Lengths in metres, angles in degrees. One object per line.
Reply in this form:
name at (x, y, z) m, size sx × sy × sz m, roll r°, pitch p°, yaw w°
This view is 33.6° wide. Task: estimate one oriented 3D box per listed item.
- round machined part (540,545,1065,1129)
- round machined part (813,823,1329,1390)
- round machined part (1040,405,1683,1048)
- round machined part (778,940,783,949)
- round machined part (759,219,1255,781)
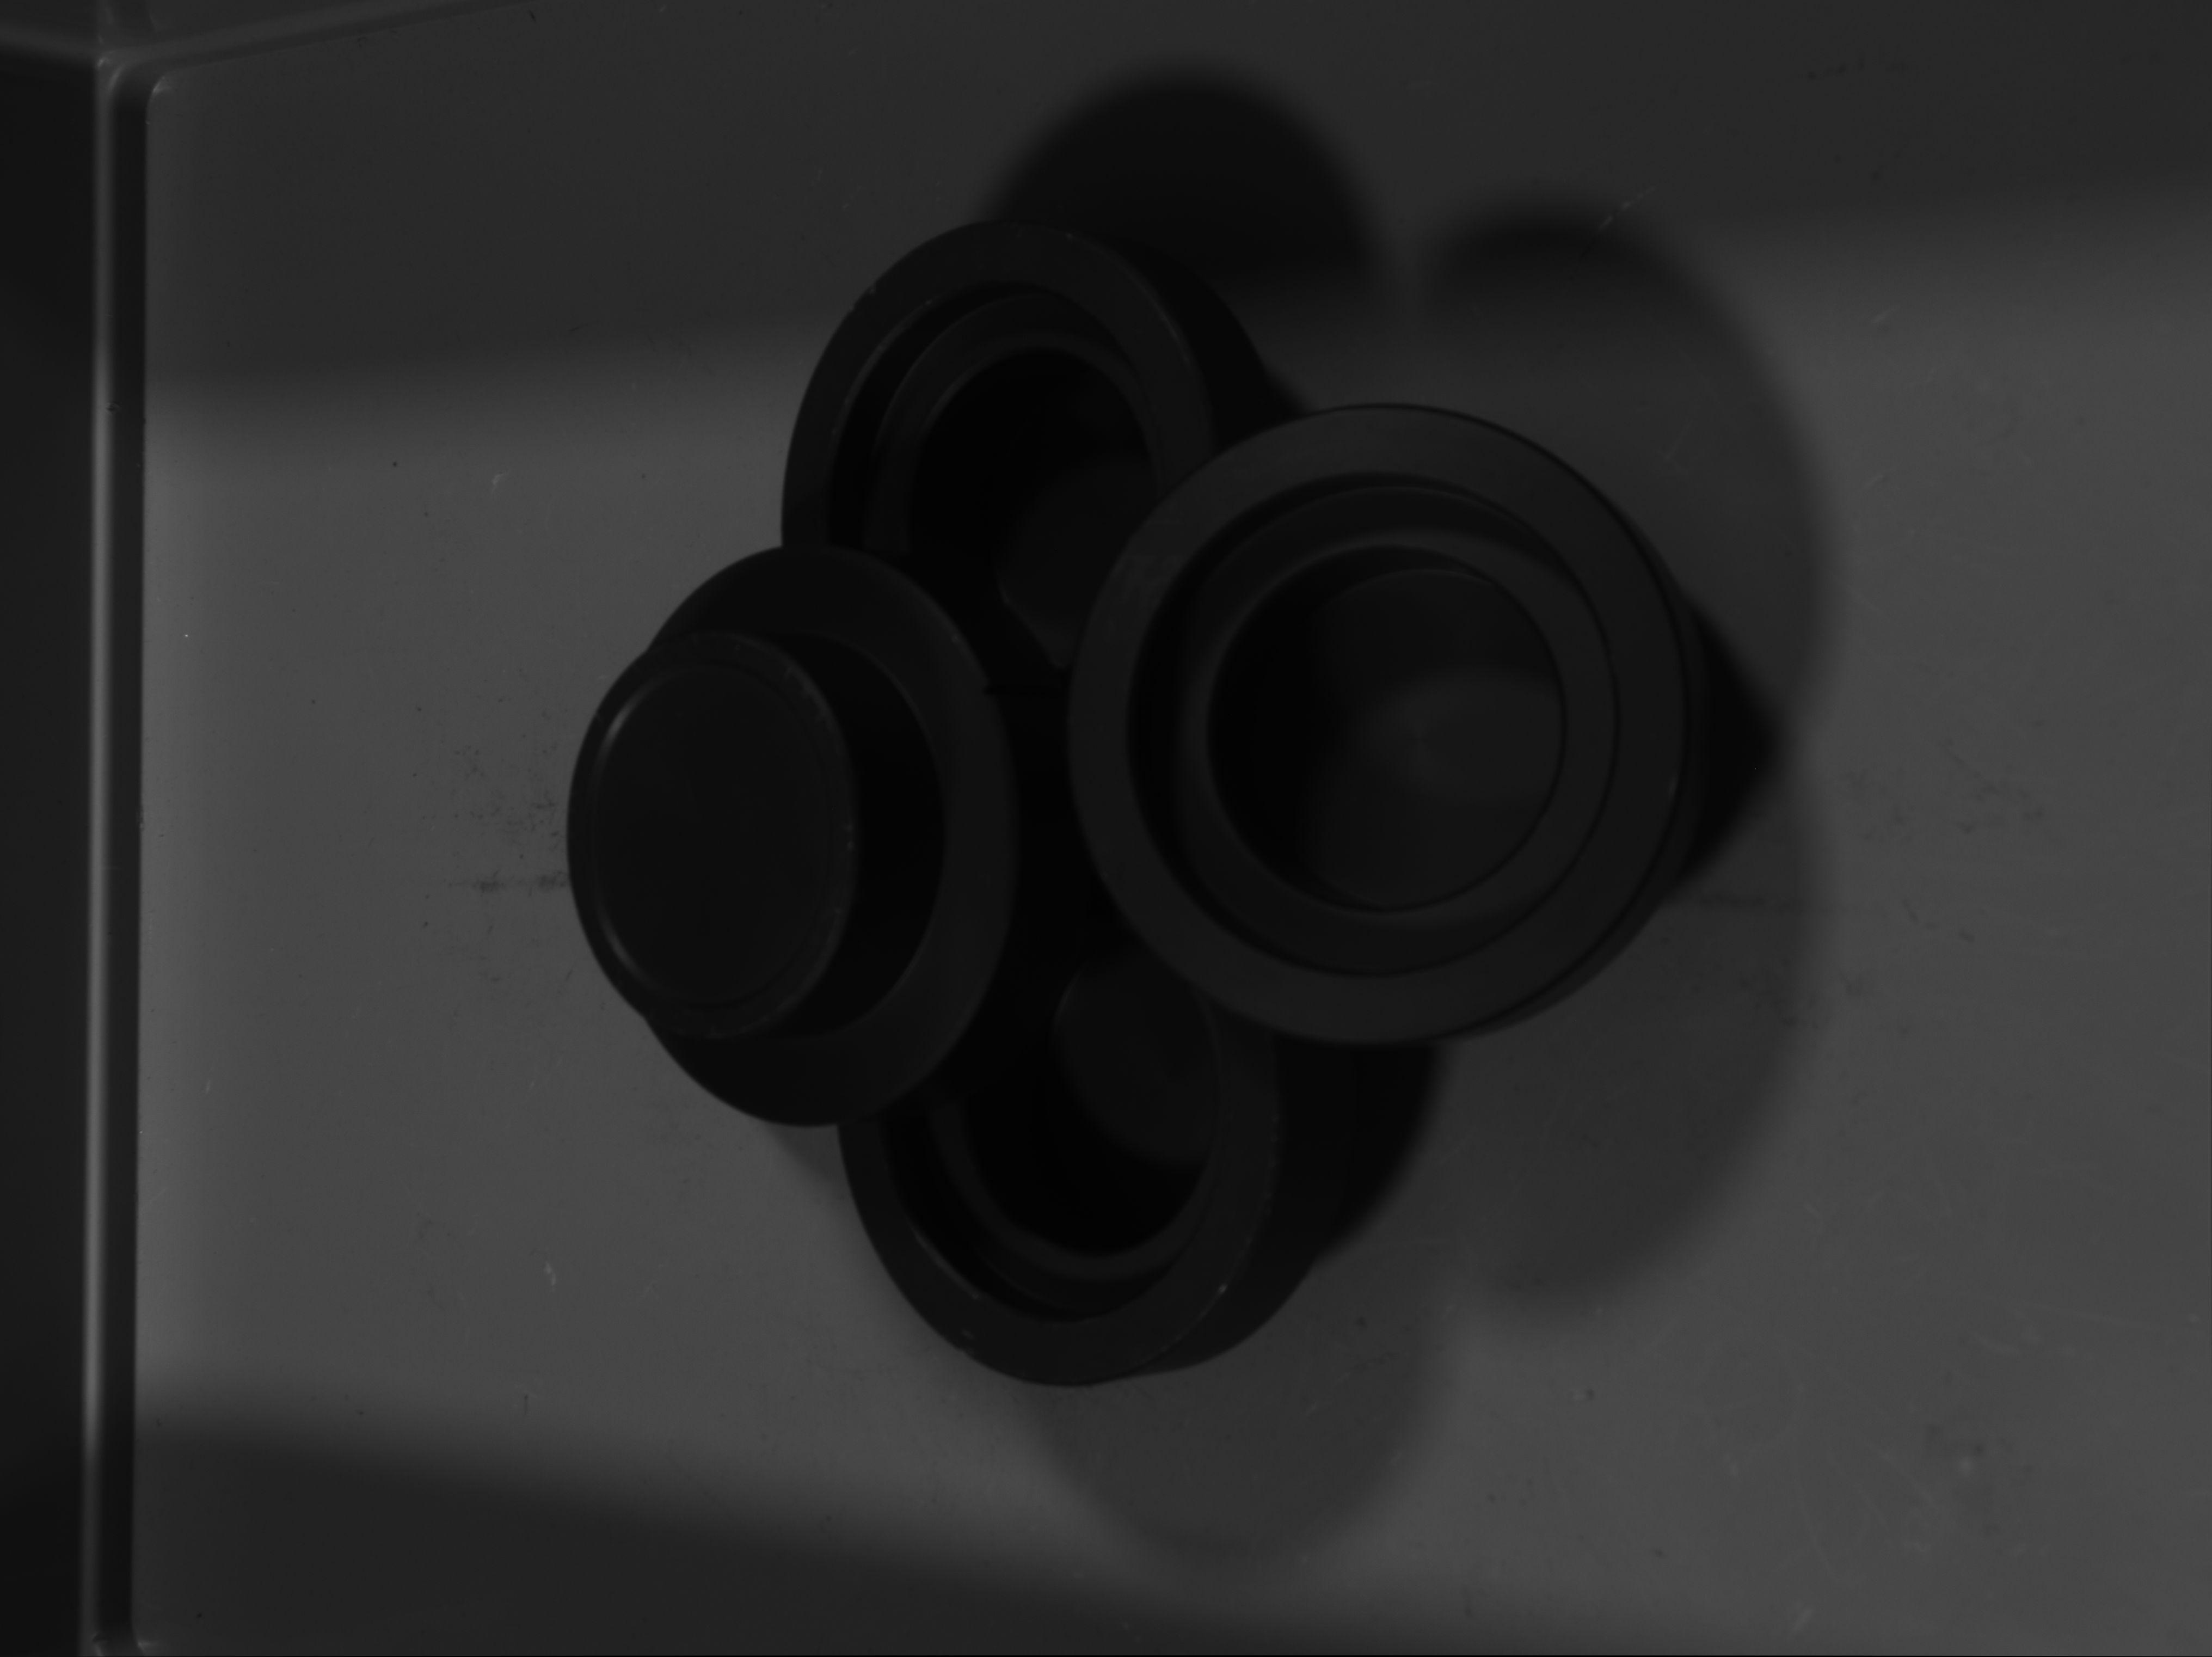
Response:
round machined part at (-0.057, 0.001, 0.614) m, size 0.098 × 0.042 × 0.098 m, roll 0°, pitch 90°, yaw 39°
round machined part at (-0.001, 0.044, 0.624) m, size 0.098 × 0.042 × 0.098 m, roll 0°, pitch 90°, yaw 39°
round machined part at (0.042, -0.015, 0.575) m, size 0.098 × 0.042 × 0.098 m, roll -1°, pitch 87°, yaw 19°
round machined part at (-0.059, 0.005, 0.670) m, size 0.098 × 0.042 × 0.098 m, roll 0°, pitch 90°, yaw 39°
round machined part at (-0.011, -0.054, 0.633) m, size 0.098 × 0.042 × 0.098 m, roll 0°, pitch 90°, yaw 39°
